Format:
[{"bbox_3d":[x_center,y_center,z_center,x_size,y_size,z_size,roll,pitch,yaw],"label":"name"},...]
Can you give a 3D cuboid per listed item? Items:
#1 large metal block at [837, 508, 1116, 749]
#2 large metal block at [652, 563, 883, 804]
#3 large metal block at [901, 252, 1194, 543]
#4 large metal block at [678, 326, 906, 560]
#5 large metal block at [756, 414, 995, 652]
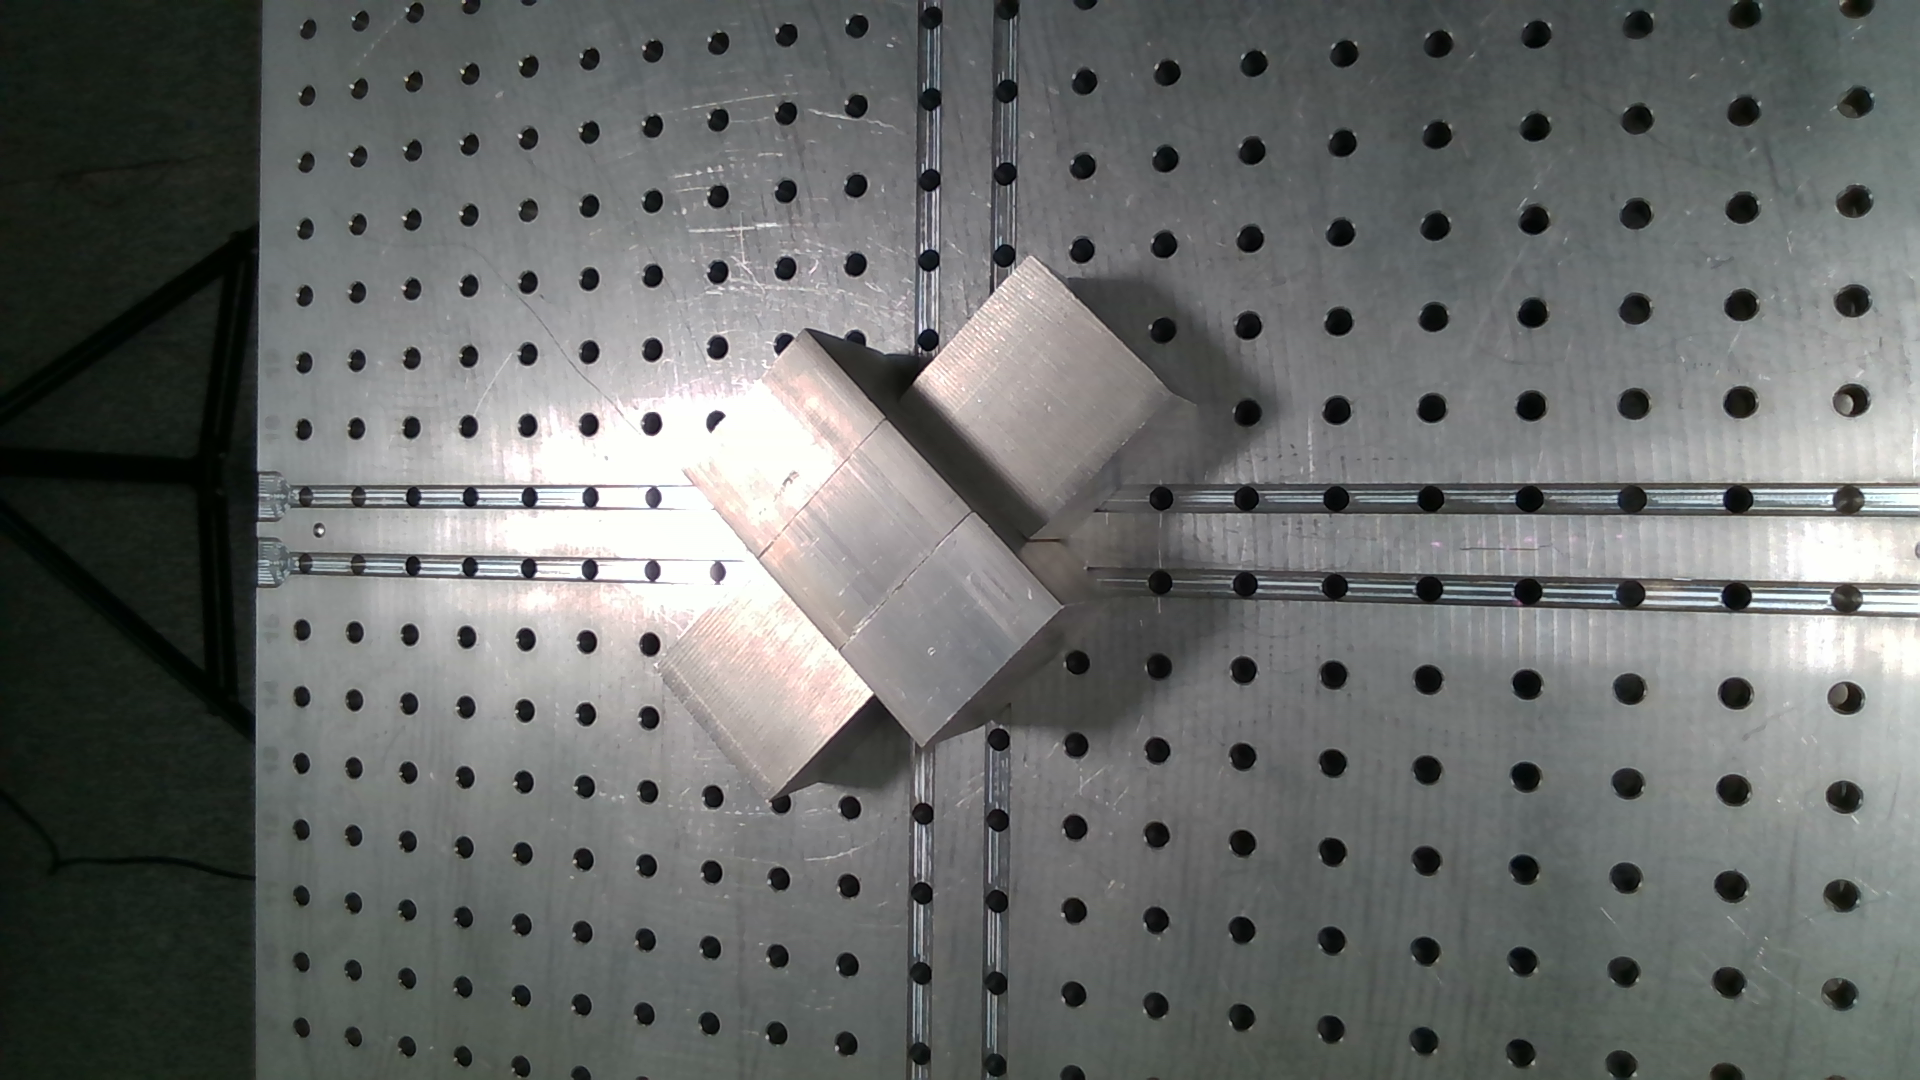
[{"bbox_3d":[0.009,0.034,0.556,0.080,0.080,0.050,-46,76,15],"label":"large metal block"},{"bbox_3d":[-0.072,0.055,0.602,0.080,0.050,0.080,-46,75,15],"label":"large metal block"},{"bbox_3d":[0.036,-0.055,0.558,0.080,0.050,0.080,47,105,15],"label":"large metal block"},{"bbox_3d":[-0.057,-0.038,0.580,0.080,0.080,0.050,-46,76,15],"label":"large metal block"},{"bbox_3d":[-0.024,-0.002,0.568,0.080,0.080,0.050,-46,76,15],"label":"large metal block"}]
